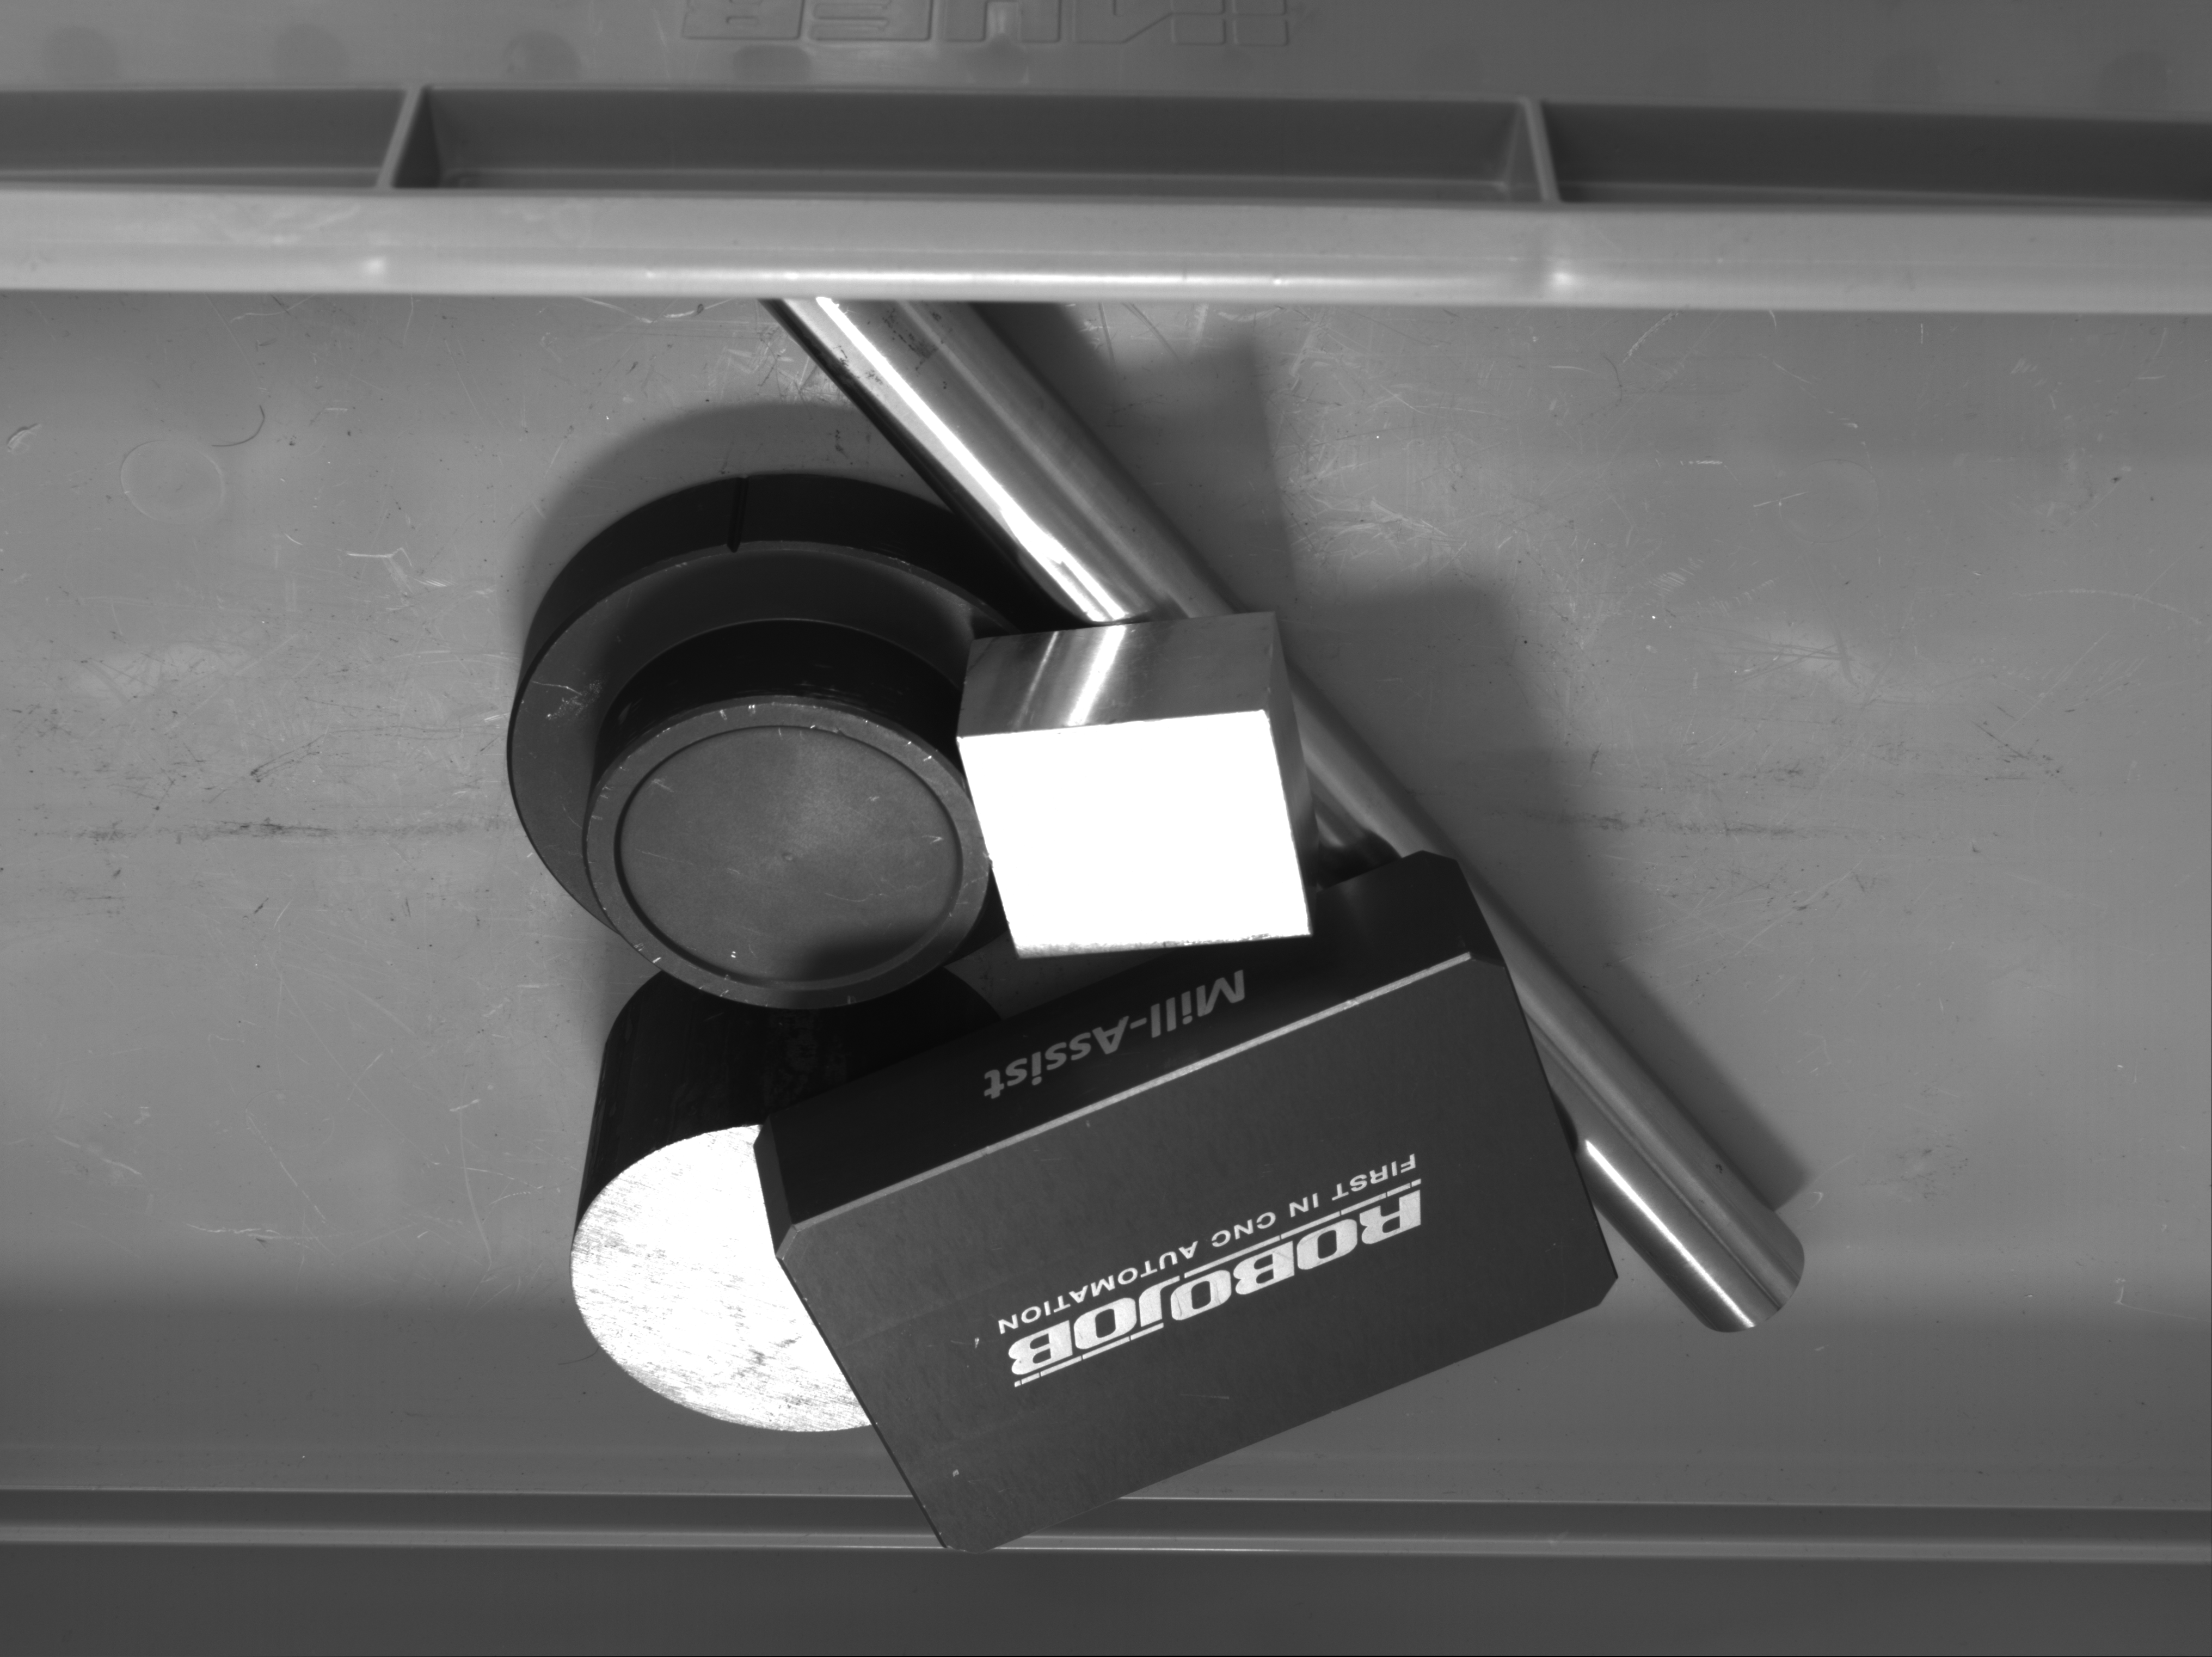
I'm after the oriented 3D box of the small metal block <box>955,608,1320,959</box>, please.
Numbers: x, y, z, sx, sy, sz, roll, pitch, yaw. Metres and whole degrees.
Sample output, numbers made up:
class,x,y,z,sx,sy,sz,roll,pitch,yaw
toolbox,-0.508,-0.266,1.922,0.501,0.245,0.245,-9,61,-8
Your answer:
class,x,y,z,sx,sy,sz,roll,pitch,yaw
small metal block,0.006,-0.007,0.602,0.050,0.025,0.050,-4,133,10

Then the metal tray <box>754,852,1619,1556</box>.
class,x,y,z,sx,sy,sz,roll,pitch,yaw
metal tray,0.015,0.067,0.641,0.130,0.030,0.090,-22,128,2

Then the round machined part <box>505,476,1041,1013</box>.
class,x,y,z,sx,sy,sz,roll,pitch,yaw
round machined part,-0.052,-0.007,0.619,0.098,0.042,0.098,1,130,1

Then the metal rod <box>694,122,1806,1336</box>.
class,x,y,z,sx,sy,sz,roll,pitch,yaw
metal rod,0.036,-0.005,0.634,0.025,0.025,0.301,-29,124,22

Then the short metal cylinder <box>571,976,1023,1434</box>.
class,x,y,z,sx,sy,sz,roll,pitch,yaw
short metal cylinder,-0.055,0.066,0.676,0.080,0.050,0.080,0,130,0
